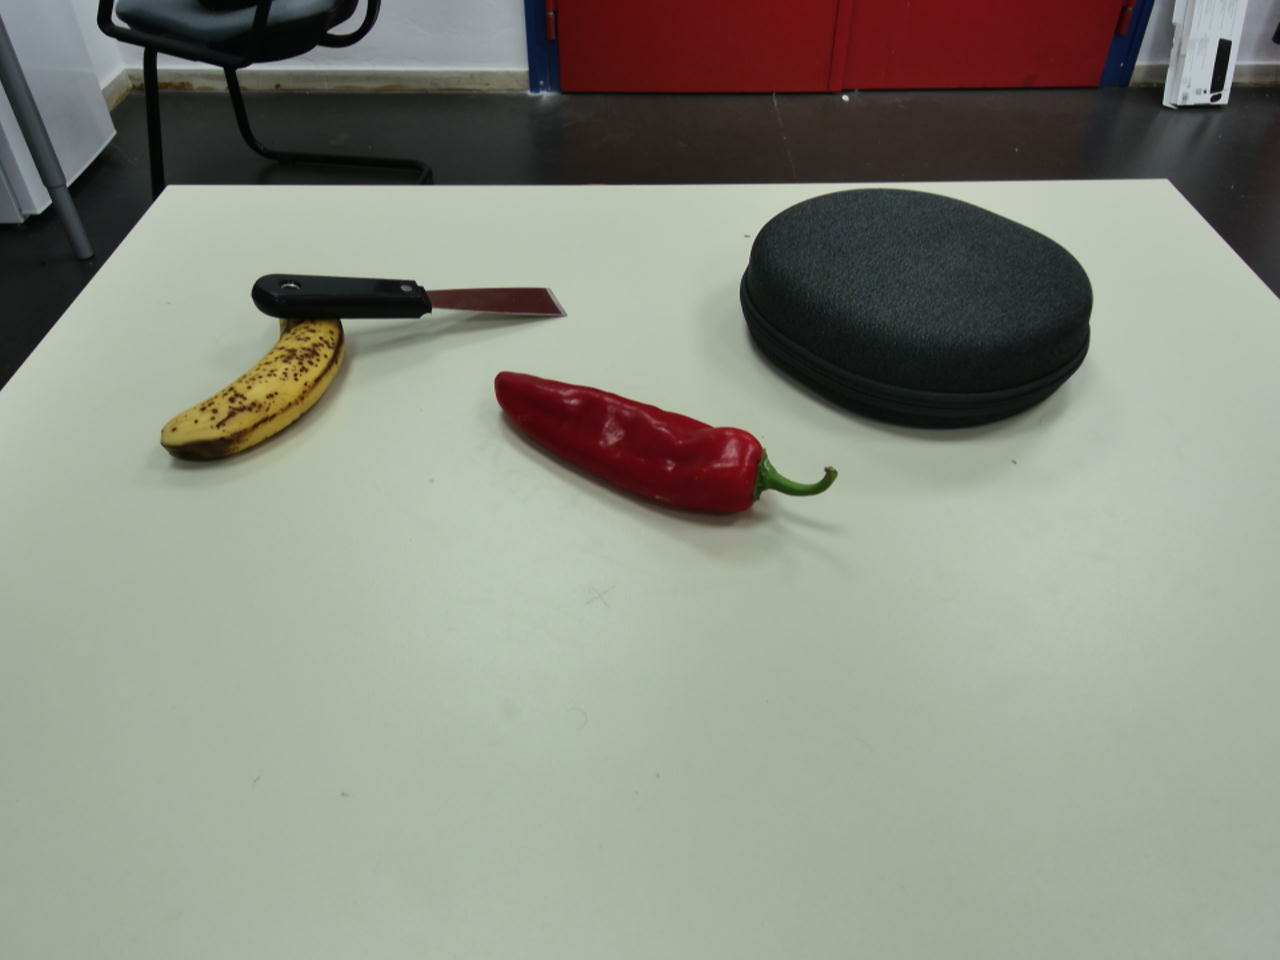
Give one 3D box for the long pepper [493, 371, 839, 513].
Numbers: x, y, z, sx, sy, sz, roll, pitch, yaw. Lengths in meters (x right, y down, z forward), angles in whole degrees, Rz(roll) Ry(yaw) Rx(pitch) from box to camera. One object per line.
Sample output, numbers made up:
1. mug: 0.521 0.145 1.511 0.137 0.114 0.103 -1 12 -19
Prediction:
1. long pepper: 0.001 -0.021 0.535 0.211 0.043 0.050 21 44 25
